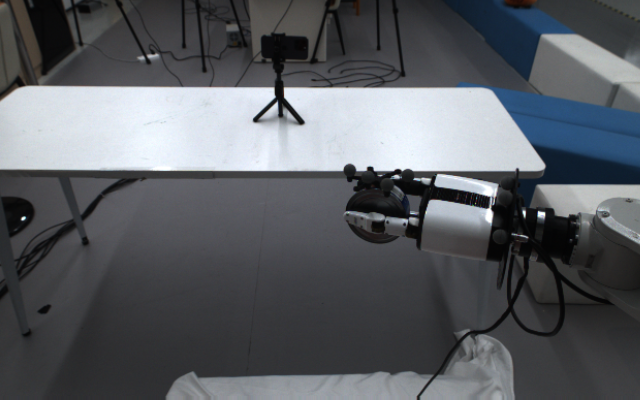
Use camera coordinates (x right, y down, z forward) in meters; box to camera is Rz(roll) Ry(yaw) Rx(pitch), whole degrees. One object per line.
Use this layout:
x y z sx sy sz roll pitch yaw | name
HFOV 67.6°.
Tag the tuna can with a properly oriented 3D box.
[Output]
0.082 0.013 0.674 0.085 0.085 0.034 13 29 16 | tuna can
